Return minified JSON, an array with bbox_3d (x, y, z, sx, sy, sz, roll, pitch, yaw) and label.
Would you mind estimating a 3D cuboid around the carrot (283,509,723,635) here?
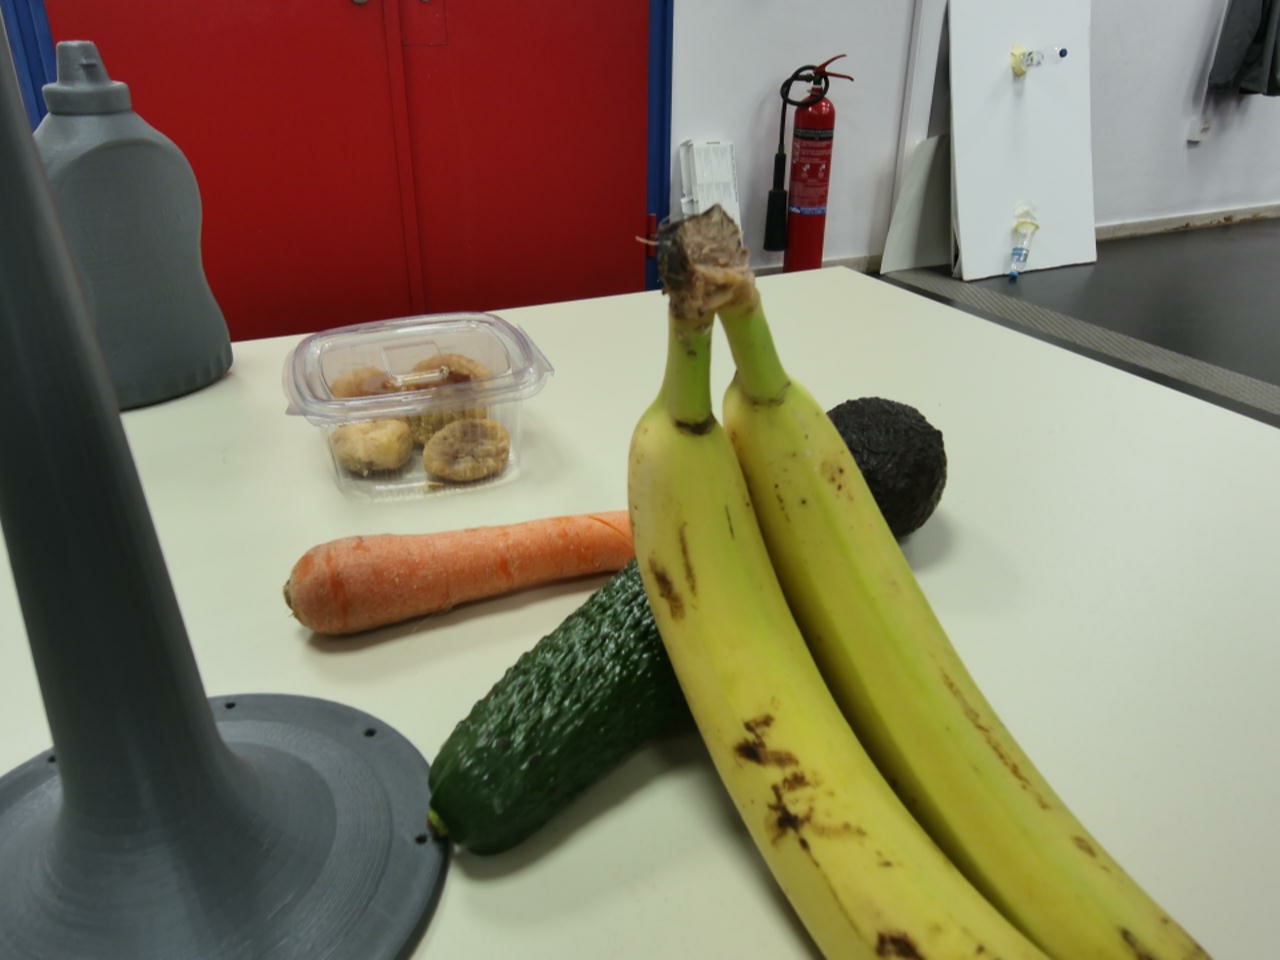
[{"bbox_3d":[-0.050,0.029,0.432,0.196,0.041,0.039,-12,27,-23],"label":"carrot"}]
